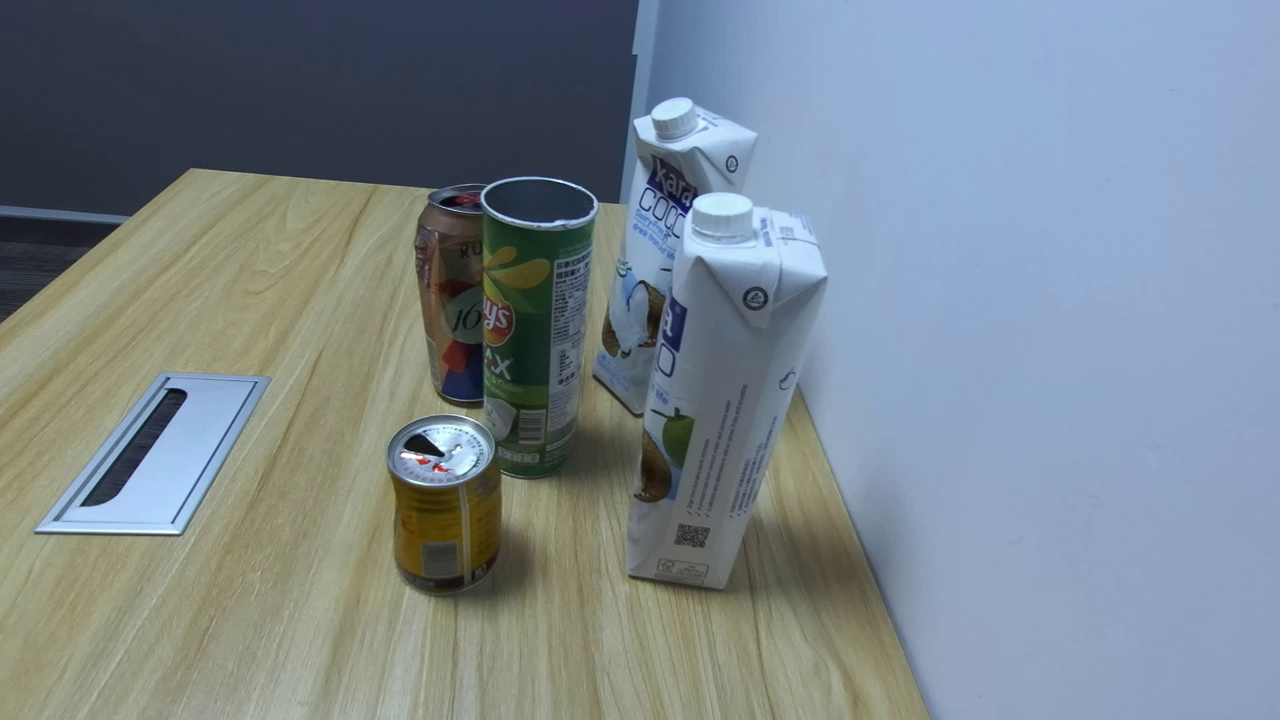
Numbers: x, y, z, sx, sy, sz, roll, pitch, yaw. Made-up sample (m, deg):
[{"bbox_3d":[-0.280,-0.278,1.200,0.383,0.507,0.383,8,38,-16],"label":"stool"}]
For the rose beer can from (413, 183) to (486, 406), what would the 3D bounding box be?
[{"bbox_3d":[-0.130,-0.047,0.547,0.076,0.167,0.065,-10,34,-21],"label":"rose beer can"}]

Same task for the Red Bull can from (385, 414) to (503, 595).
[{"bbox_3d":[-0.117,0.086,0.423,0.069,0.092,0.069,6,34,-4],"label":"Red Bull can"}]

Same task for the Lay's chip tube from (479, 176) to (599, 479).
[{"bbox_3d":[-0.070,-0.016,0.476,0.071,0.202,0.071,5,35,-3],"label":"Lay's chip tube"}]

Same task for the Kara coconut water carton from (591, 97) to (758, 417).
[{"bbox_3d":[0.024,-0.077,0.547,0.071,0.244,0.099,-19,42,-34],"label":"Kara coconut water carton"}]

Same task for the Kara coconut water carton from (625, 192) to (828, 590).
[{"bbox_3d":[0.043,0.025,0.406,0.075,0.245,0.077,9,35,-2],"label":"Kara coconut water carton"}]
